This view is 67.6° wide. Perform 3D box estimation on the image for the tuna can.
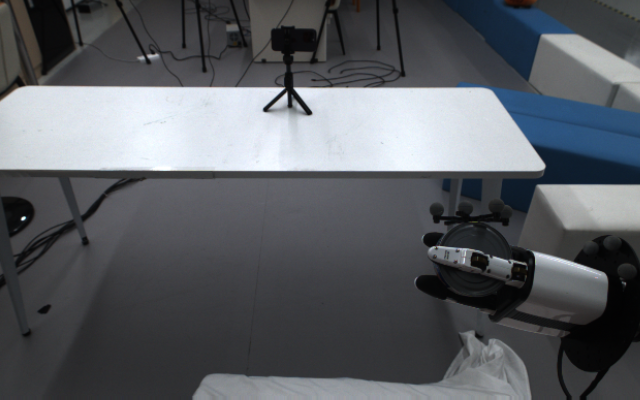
[{"bbox_3d":[0.178,0.068,0.566,0.085,0.034,0.085,-1,75,4],"label":"tuna can"}]
